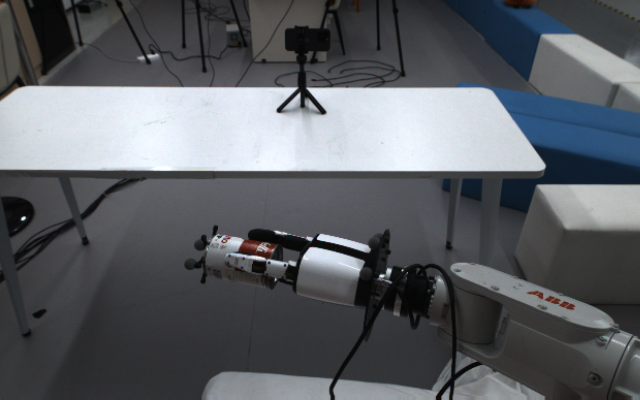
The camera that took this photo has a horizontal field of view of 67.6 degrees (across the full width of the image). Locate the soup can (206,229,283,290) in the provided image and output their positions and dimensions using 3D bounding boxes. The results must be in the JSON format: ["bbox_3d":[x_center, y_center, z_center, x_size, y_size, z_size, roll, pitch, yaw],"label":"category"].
[{"bbox_3d":[-0.111,0.092,0.718,0.101,0.067,0.067,8,35,11],"label":"soup can"}]
